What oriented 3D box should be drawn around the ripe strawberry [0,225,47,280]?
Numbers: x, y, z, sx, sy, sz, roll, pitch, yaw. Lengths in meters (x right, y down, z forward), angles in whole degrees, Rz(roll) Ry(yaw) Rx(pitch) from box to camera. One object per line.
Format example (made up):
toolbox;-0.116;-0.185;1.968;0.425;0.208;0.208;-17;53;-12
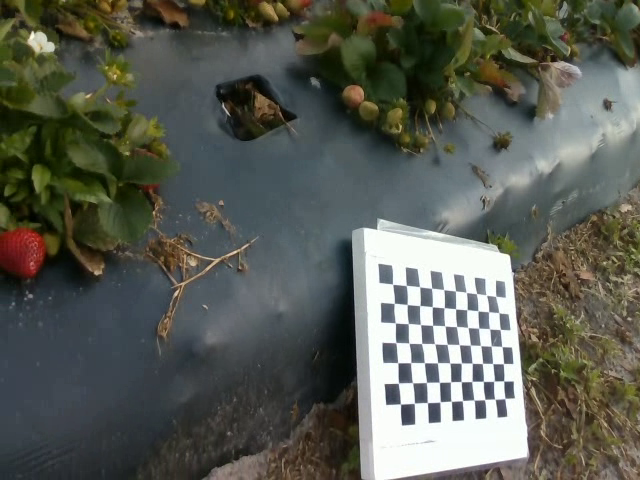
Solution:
ripe strawberry;-0.245;0.015;0.505;0.043;0.051;0.043;-12;-32;-41
